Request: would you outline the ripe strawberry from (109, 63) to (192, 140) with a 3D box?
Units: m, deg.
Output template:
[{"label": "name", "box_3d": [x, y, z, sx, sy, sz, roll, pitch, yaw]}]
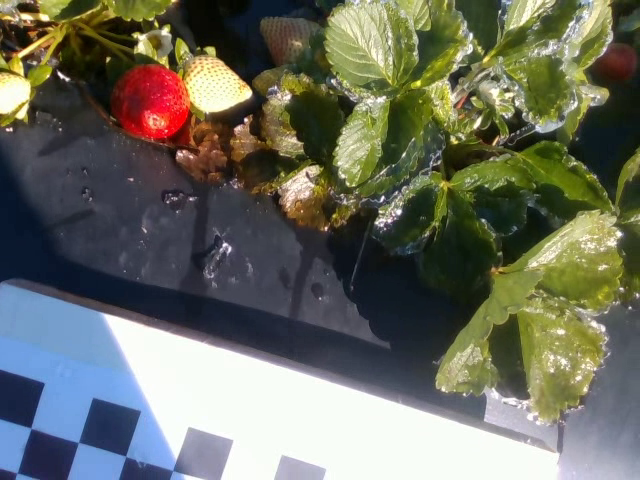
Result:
[{"label": "ripe strawberry", "box_3d": [-0.079, -0.062, 0.291, 0.040, 0.042, 0.053, -19, 32, -3]}]
